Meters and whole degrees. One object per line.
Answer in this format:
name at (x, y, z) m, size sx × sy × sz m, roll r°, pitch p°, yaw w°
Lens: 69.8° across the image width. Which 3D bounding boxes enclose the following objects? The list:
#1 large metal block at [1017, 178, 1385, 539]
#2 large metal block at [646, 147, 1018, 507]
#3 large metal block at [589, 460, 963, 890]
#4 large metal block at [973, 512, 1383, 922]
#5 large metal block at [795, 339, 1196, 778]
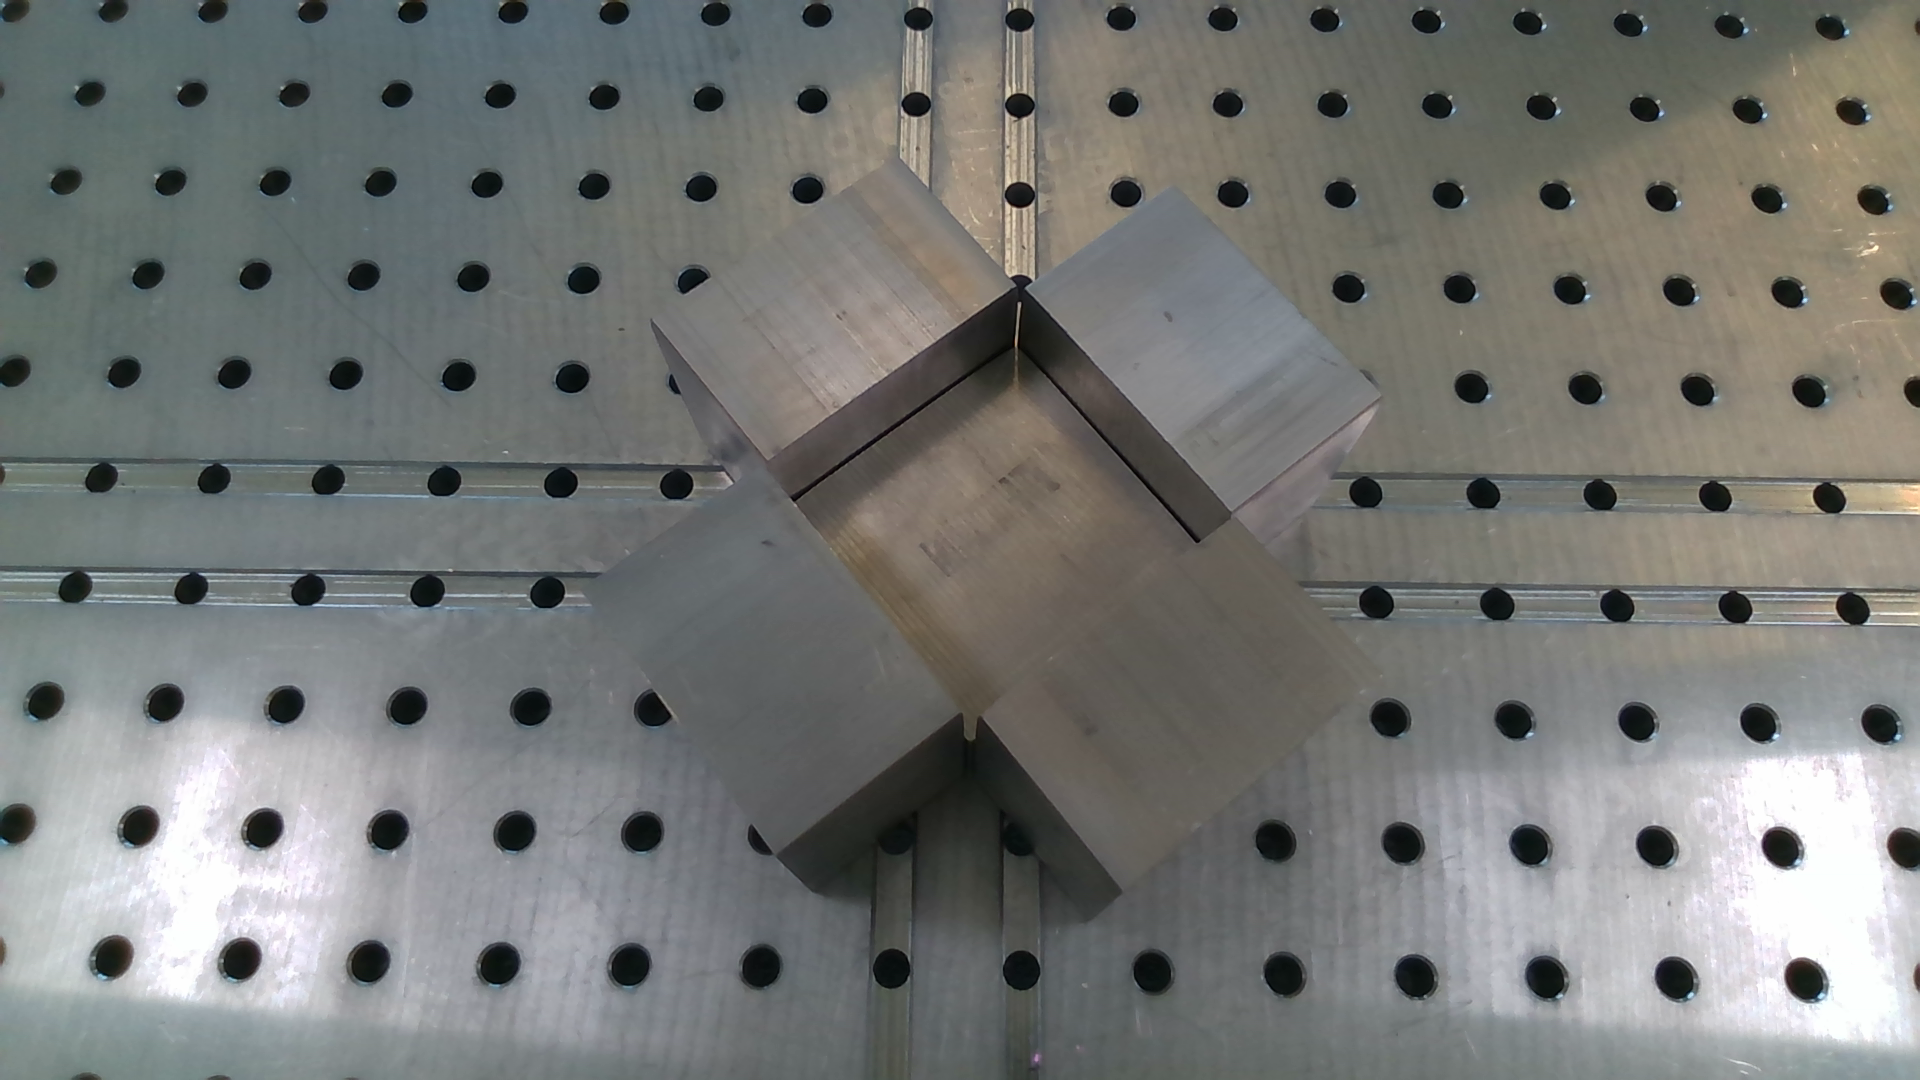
large metal block at (0.060, -0.037, 0.382) m, size 0.050 × 0.080 × 0.080 m, roll -37°, pitch 74°, yaw -12°
large metal block at (-0.032, -0.048, 0.386) m, size 0.080 × 0.080 × 0.050 m, roll -37°, pitch 74°, yaw -12°
large metal block at (-0.043, 0.038, 0.356) m, size 0.050 × 0.080 × 0.080 m, roll -36°, pitch 74°, yaw -12°
large metal block at (0.050, 0.049, 0.352) m, size 0.080 × 0.080 × 0.050 m, roll -37°, pitch 75°, yaw -12°
large metal block at (0.009, 0.006, 0.381) m, size 0.080 × 0.050 × 0.080 m, roll -36°, pitch 72°, yaw -13°
